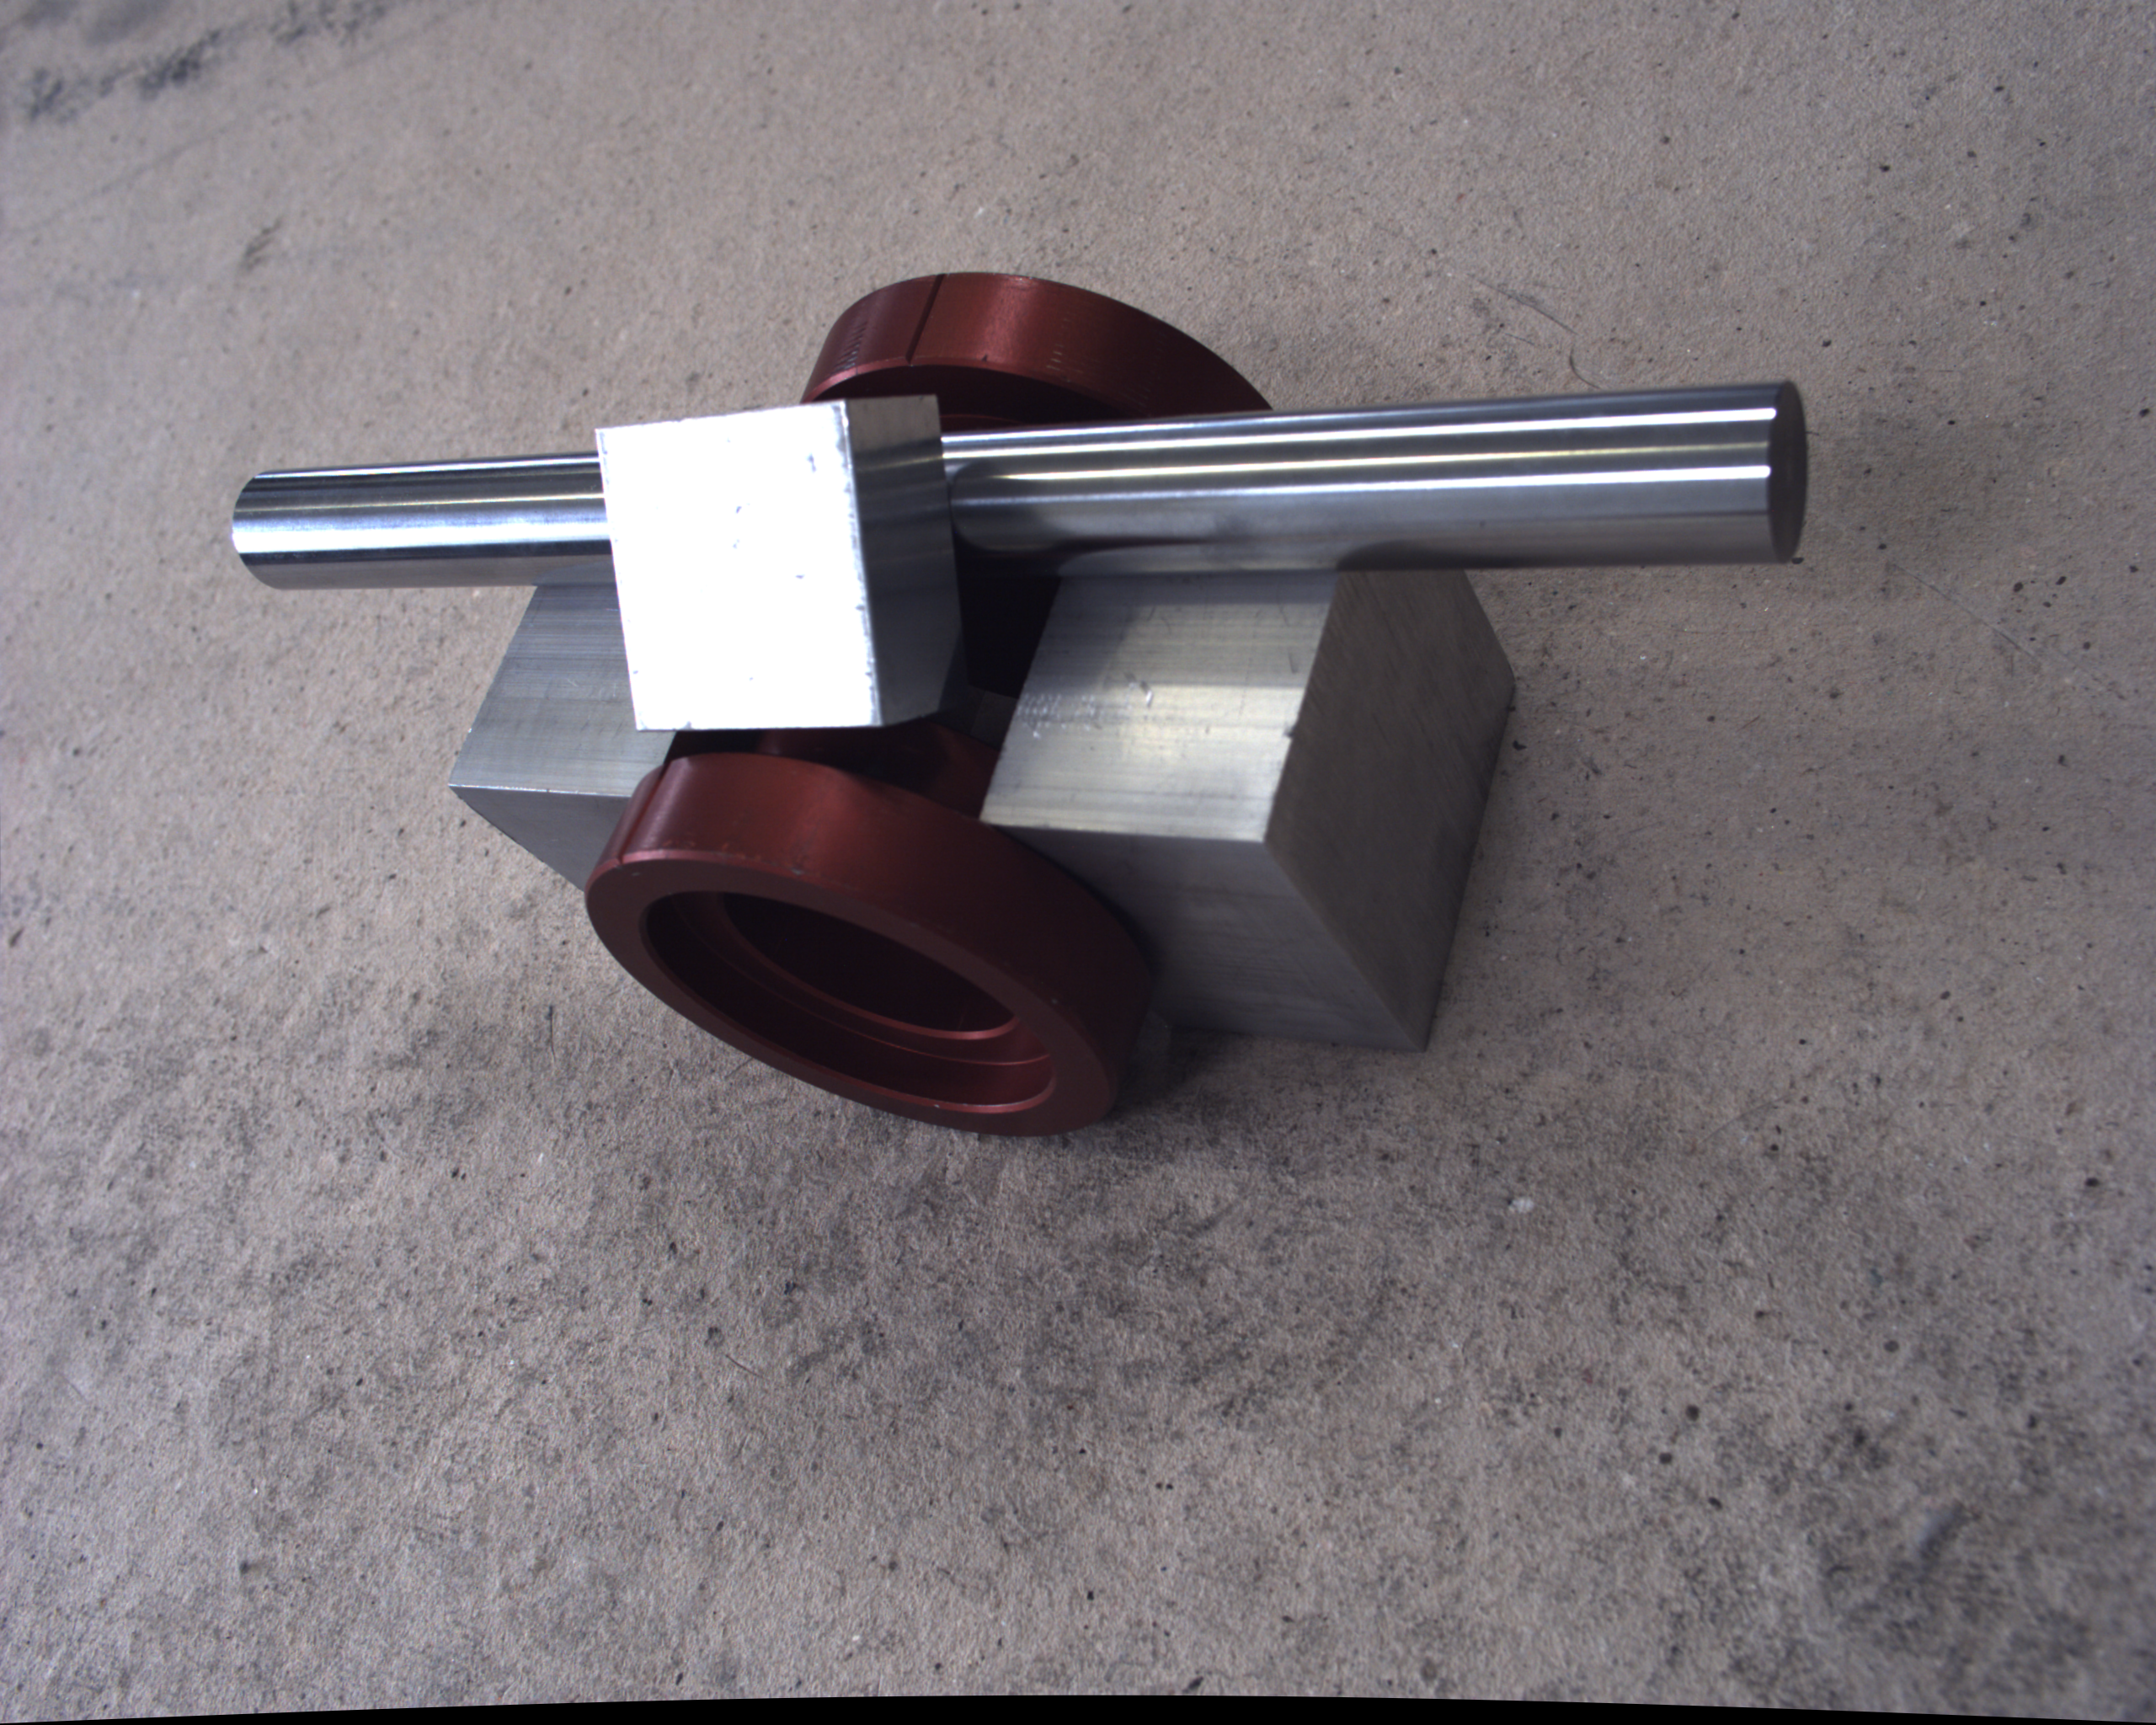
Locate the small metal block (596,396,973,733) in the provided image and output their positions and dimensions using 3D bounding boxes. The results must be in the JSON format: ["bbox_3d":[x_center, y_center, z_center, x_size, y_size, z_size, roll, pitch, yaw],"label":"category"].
[{"bbox_3d":[-0.048,-0.048,0.340,0.050,0.025,0.050,1,103,30],"label":"small metal block"}]

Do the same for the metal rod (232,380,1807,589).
[{"bbox_3d":[-0.034,-0.061,0.358,0.300,0.025,0.025,3,63,29],"label":"metal rod"}]

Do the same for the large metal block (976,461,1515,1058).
[{"bbox_3d":[0.034,-0.021,0.365,0.050,0.080,0.080,4,64,30],"label":"large metal block"}]

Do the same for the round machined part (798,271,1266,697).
[{"bbox_3d":[-0.009,-0.065,0.404,0.098,0.098,0.042,4,65,30],"label":"round machined part"}]

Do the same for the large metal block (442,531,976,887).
[{"bbox_3d":[-0.069,-0.029,0.424,0.050,0.080,0.080,5,64,30],"label":"large metal block"}]

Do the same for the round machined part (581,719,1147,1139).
[{"bbox_3d":[-0.034,0.008,0.371,0.098,0.098,0.042,5,59,30],"label":"round machined part"}]
